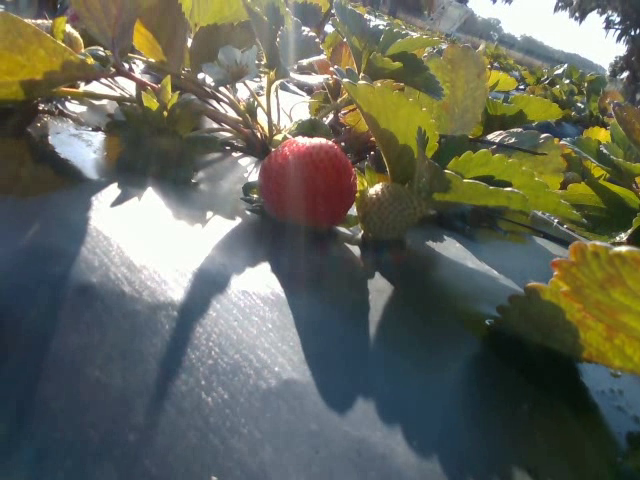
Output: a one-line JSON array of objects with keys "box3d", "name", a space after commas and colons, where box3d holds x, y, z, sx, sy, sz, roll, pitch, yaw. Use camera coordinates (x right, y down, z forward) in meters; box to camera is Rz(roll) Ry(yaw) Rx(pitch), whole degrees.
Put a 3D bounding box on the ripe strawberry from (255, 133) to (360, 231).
[{"box3d": [-0.001, -0.016, 0.181, 0.042, 0.037, 0.045, 37, -30, 6], "name": "ripe strawberry"}]
